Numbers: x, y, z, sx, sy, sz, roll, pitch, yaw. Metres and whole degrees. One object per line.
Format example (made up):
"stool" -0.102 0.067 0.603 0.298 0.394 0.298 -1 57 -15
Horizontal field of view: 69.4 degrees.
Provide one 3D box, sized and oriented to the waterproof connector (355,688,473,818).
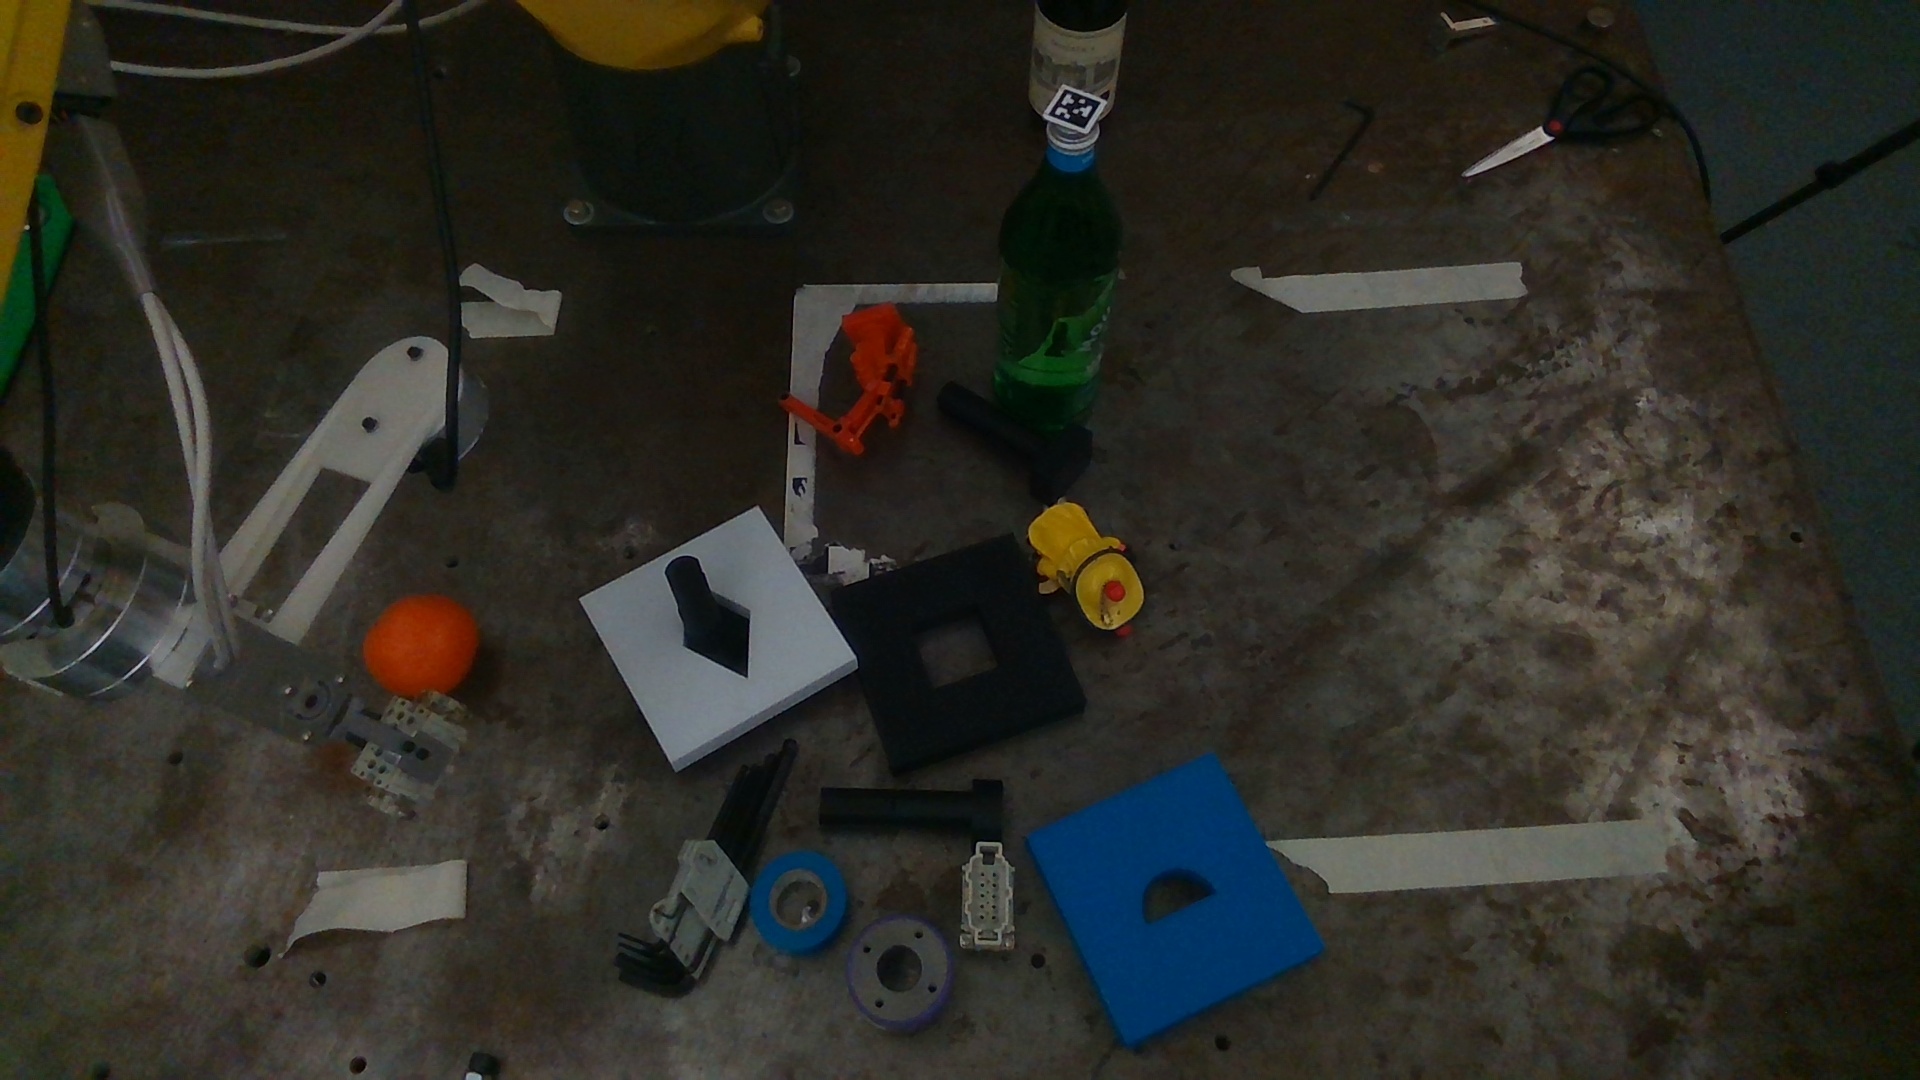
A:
"waterproof connector" -0.293 0.115 0.750 0.037 0.038 0.069 16 71 33
